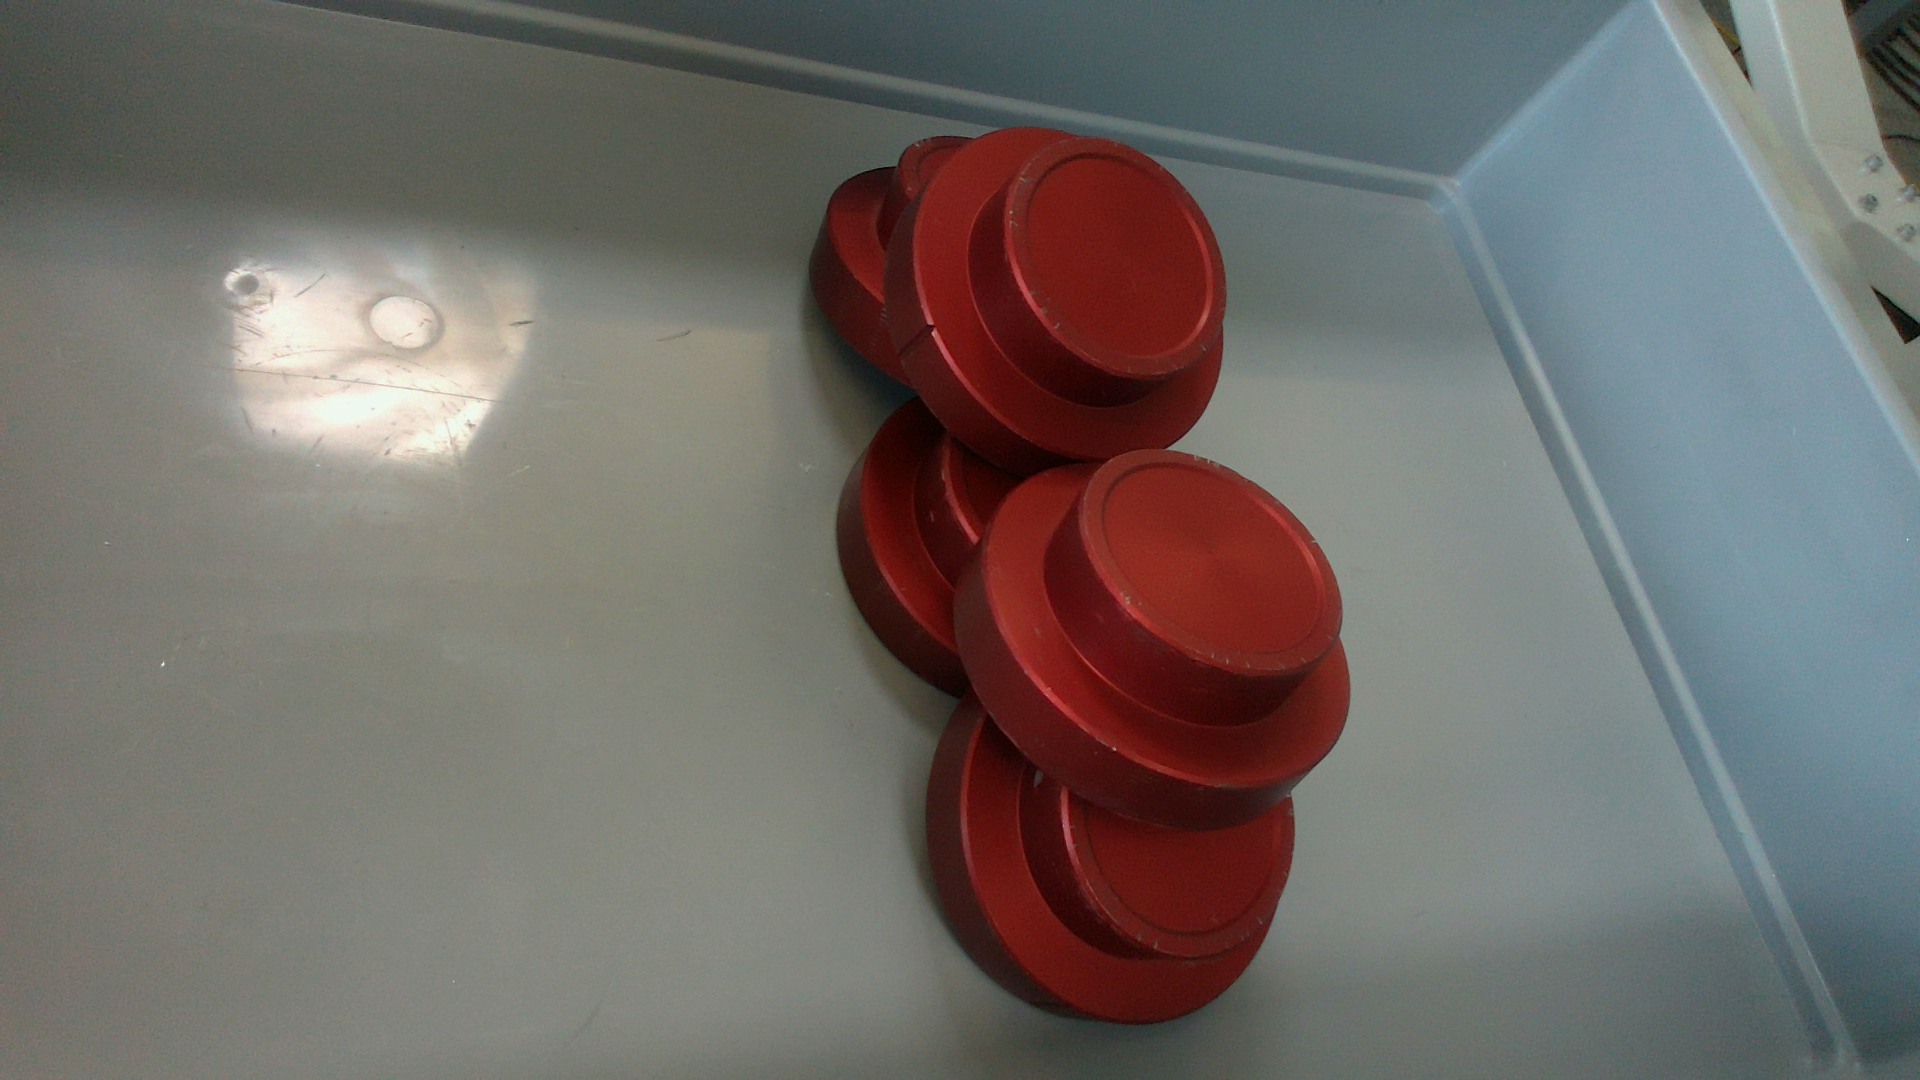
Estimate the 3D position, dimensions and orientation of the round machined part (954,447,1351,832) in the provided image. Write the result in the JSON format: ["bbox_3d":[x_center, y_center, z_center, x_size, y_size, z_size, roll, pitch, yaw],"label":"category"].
[{"bbox_3d":[0.051,0.016,0.330,0.098,0.042,0.098,15,45,-15],"label":"round machined part"}]

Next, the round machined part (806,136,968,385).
[{"bbox_3d":[0.006,-0.086,0.419,0.098,0.042,0.098,15,40,-13],"label":"round machined part"}]

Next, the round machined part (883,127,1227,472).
[{"bbox_3d":[0.032,-0.068,0.370,0.098,0.042,0.098,9,70,-25],"label":"round machined part"}]

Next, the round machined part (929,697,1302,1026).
[{"bbox_3d":[0.045,0.069,0.342,0.098,0.042,0.098,8,73,-26],"label":"round machined part"}]

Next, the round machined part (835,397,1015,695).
[{"bbox_3d":[0.017,-0.005,0.390,0.098,0.042,0.098,14,55,-20],"label":"round machined part"}]
